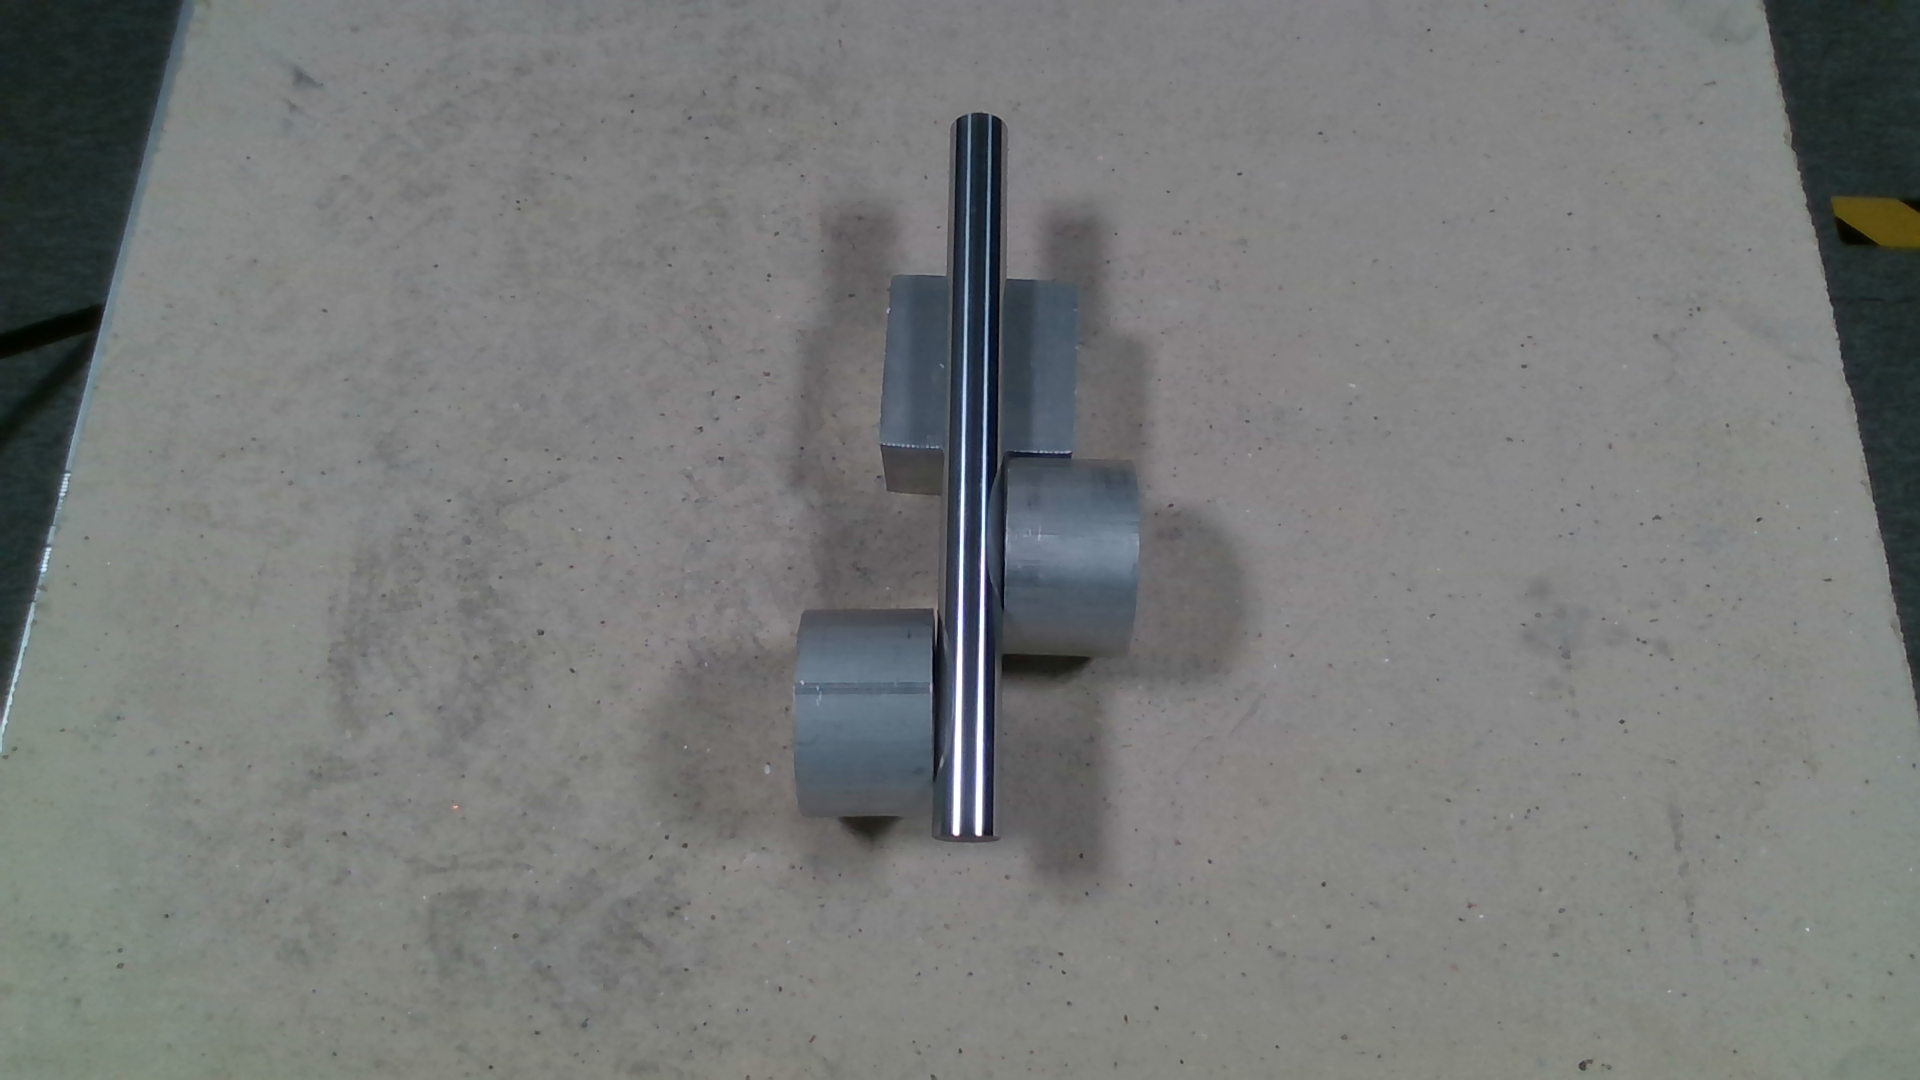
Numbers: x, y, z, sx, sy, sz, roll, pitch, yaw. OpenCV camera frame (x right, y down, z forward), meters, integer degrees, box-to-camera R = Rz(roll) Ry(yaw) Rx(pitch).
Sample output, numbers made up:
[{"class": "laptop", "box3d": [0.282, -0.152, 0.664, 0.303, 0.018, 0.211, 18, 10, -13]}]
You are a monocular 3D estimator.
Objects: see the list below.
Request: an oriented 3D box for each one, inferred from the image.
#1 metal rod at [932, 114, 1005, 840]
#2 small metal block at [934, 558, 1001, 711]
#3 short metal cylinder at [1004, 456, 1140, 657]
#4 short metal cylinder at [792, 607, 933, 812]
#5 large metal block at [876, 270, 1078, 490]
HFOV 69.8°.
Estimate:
[{"class": "metal rod", "box3d": [0.005, -0.034, 0.546, 0.025, 0.025, 0.299, 1, 71, 0]}, {"class": "small metal block", "box3d": [0.003, 0.039, 0.560, 0.025, 0.050, 0.050, 1, 70, 0]}, {"class": "short metal cylinder", "box3d": [0.043, 0.007, 0.558, 0.050, 0.080, 0.080, 2, 70, 1]}, {"class": "short metal cylinder", "box3d": [-0.035, 0.066, 0.535, 0.050, 0.080, 0.080, 0, 70, 0]}, {"class": "large metal block", "box3d": [0.008, -0.067, 0.596, 0.080, 0.050, 0.080, 3, 70, 1]}]
